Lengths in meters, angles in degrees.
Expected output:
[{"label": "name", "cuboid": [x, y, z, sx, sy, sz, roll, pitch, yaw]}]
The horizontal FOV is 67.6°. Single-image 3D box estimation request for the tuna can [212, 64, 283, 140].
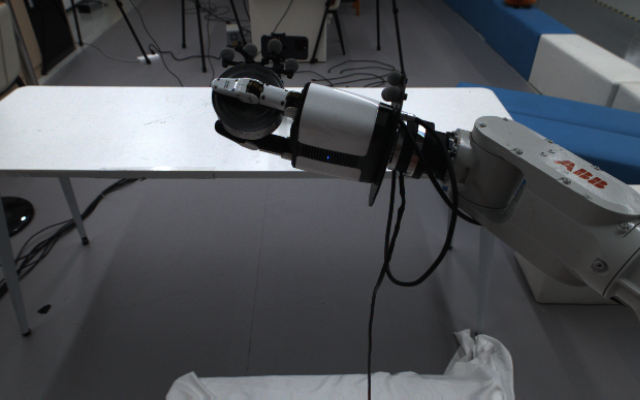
[{"label": "tuna can", "cuboid": [-0.083, -0.117, 0.578, 0.085, 0.034, 0.085, 1, 73, -2]}]
